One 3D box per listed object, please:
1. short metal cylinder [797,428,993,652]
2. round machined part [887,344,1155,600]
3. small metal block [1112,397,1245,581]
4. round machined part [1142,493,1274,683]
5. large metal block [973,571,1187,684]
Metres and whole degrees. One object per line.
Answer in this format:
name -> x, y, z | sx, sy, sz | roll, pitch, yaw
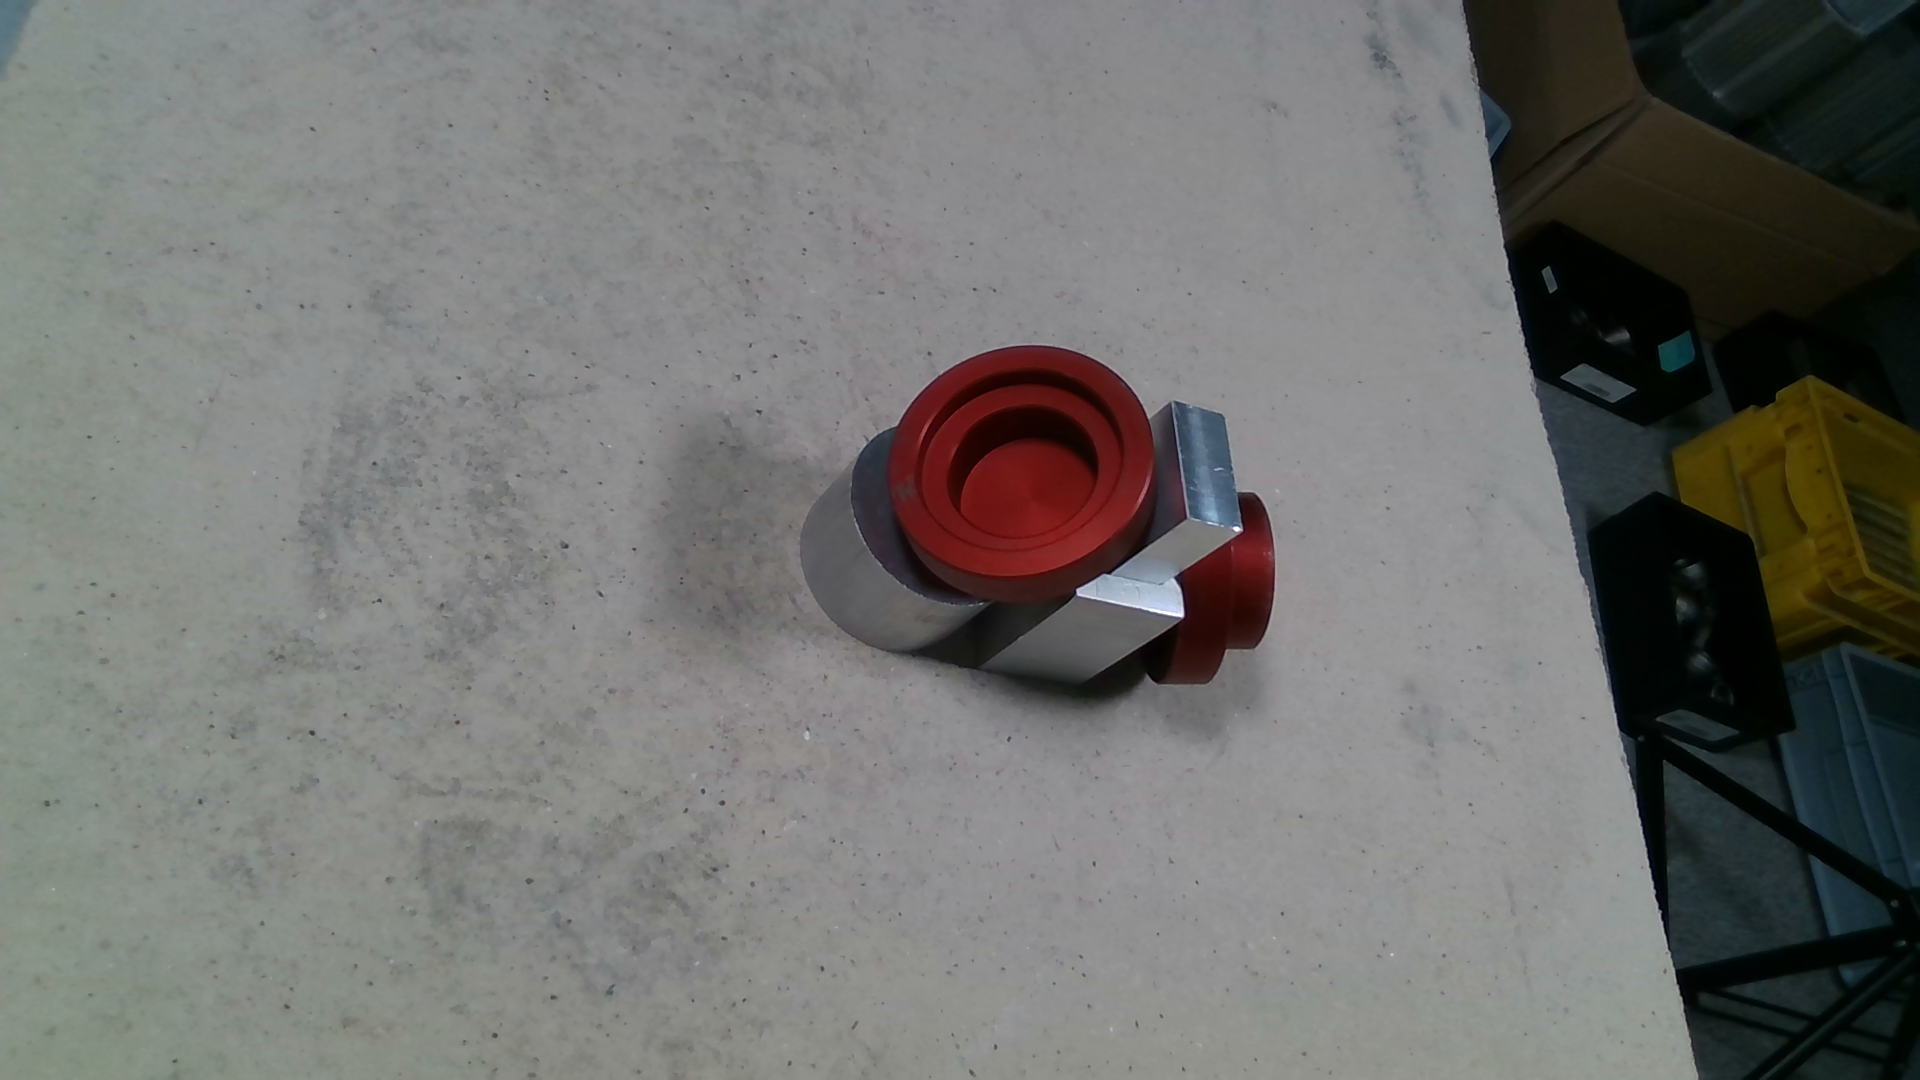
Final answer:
short metal cylinder -> -0.019, -0.001, 0.560 | 0.080, 0.050, 0.080 | 14, 59, -25
round machined part -> 0.025, -0.022, 0.517 | 0.098, 0.042, 0.098 | -5, 62, 9
small metal block -> 0.079, -0.018, 0.524 | 0.025, 0.050, 0.050 | 12, 59, -27
round machined part -> 0.105, 0.013, 0.592 | 0.042, 0.098, 0.098 | 0, 63, -4
large metal block -> 0.046, 0.007, 0.575 | 0.050, 0.080, 0.080 | 12, 59, -26
